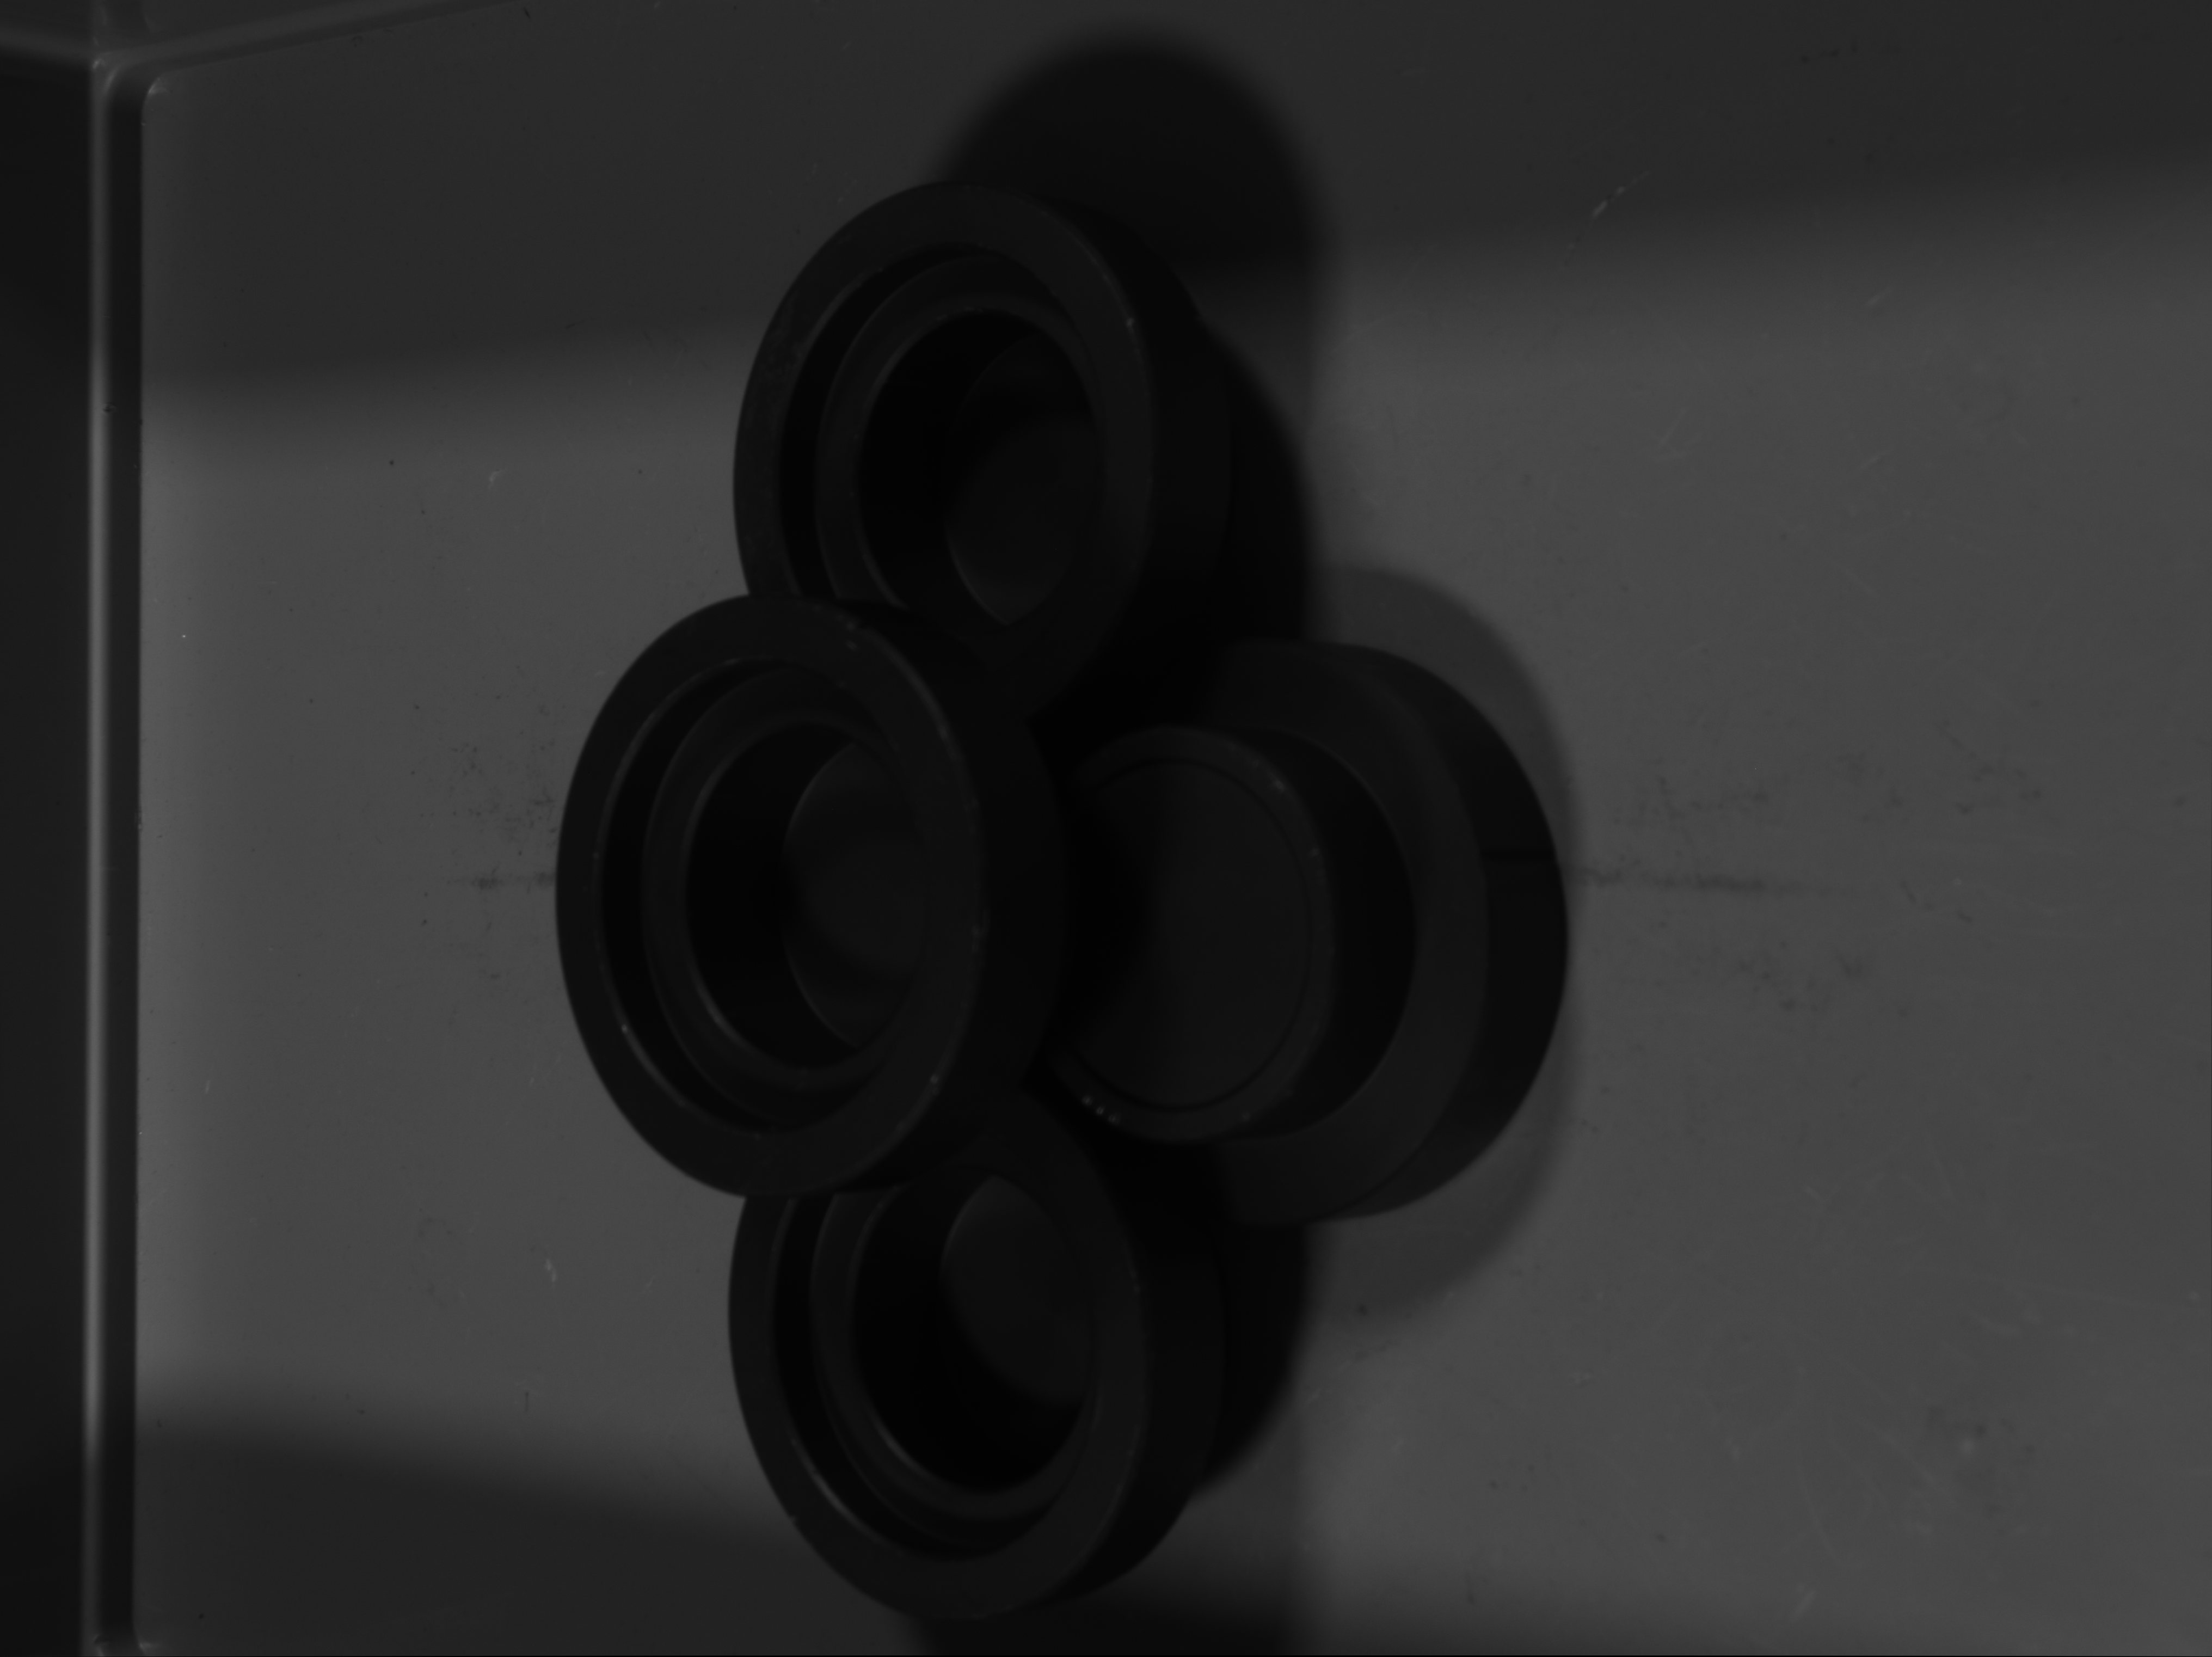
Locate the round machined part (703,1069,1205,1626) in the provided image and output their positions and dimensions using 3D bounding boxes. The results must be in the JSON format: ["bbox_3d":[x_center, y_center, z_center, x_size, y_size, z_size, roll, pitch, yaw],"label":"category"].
[{"bbox_3d":[-0.022,0.087,0.641,0.098,0.042,0.098,0,90,39],"label":"round machined part"}]

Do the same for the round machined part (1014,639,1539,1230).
[{"bbox_3d":[0.019,0.017,0.607,0.098,0.042,0.098,0,90,39],"label":"round machined part"}]

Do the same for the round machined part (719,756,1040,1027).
[{"bbox_3d":[-0.056,0.014,0.670,0.098,0.042,0.098,0,90,39],"label":"round machined part"}]

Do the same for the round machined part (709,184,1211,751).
[{"bbox_3d":[-0.021,-0.061,0.640,0.098,0.042,0.098,0,90,39],"label":"round machined part"}]

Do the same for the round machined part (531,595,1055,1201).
[{"bbox_3d":[-0.047,0.011,0.607,0.098,0.042,0.098,0,90,39],"label":"round machined part"}]
